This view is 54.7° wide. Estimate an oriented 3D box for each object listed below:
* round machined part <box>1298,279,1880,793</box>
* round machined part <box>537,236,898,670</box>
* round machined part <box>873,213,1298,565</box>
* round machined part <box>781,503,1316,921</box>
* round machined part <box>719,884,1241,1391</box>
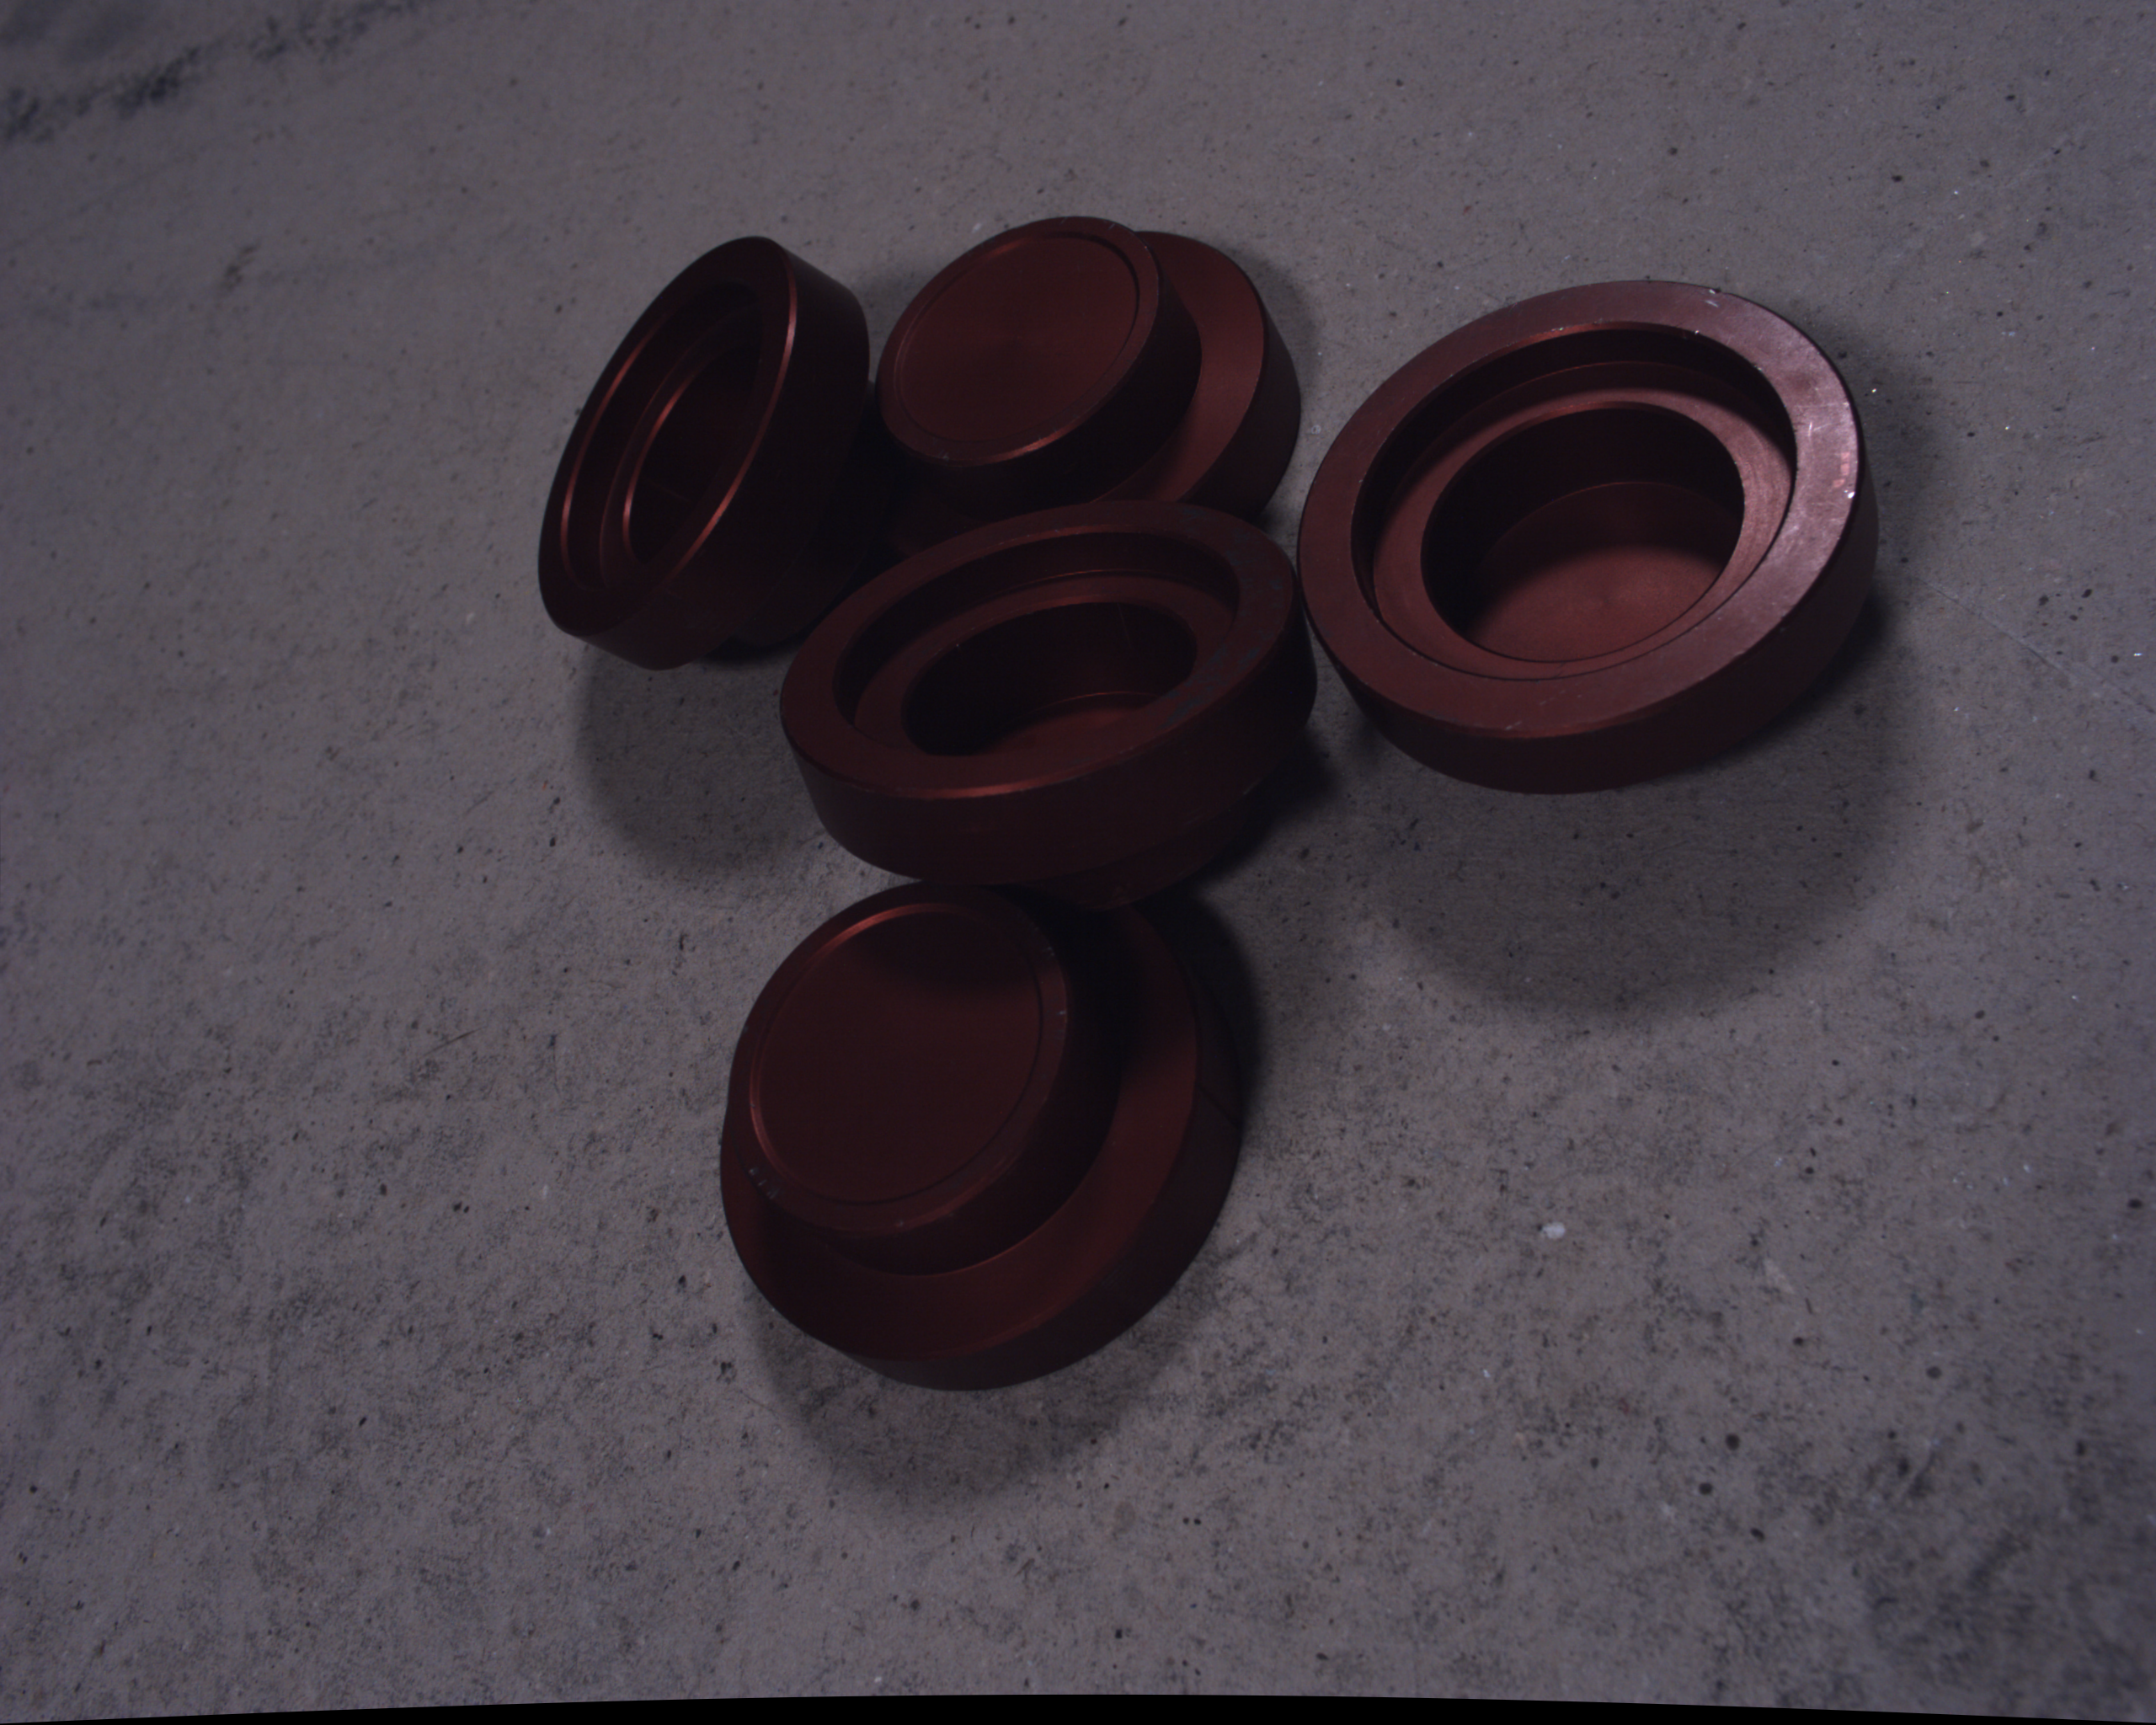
[{"bbox_3d":[0.093,-0.054,0.378,0.098,0.042,0.098,-13,56,20],"label":"round machined part"},{"bbox_3d":[-0.078,-0.088,0.474,0.098,0.042,0.098,-27,51,39],"label":"round machined part"},{"bbox_3d":[-0.005,-0.103,0.458,0.098,0.042,0.098,-13,56,20],"label":"round machined part"},{"bbox_3d":[-0.003,-0.026,0.397,0.098,0.042,0.098,-12,35,9],"label":"round machined part"},{"bbox_3d":[-0.024,0.042,0.379,0.098,0.042,0.098,-13,56,20],"label":"round machined part"}]
